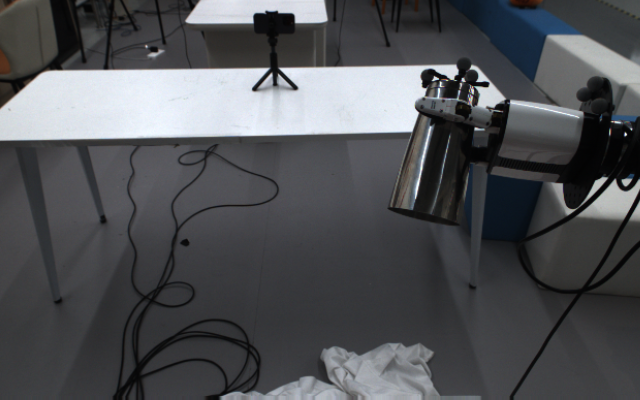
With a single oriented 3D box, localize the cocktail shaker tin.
[{"bbox_3d":[0.152,-0.064,0.619,0.093,0.170,0.093,14,-5,1],"label":"cocktail shaker tin"}]
